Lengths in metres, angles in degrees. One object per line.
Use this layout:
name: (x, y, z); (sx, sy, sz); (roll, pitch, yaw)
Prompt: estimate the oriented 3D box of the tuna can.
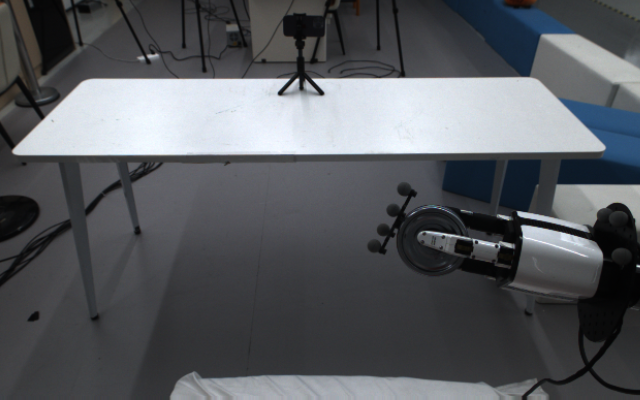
tuna can: (0.139, 0.045, 0.591); (0.085, 0.085, 0.034); (8, 4, 8)
